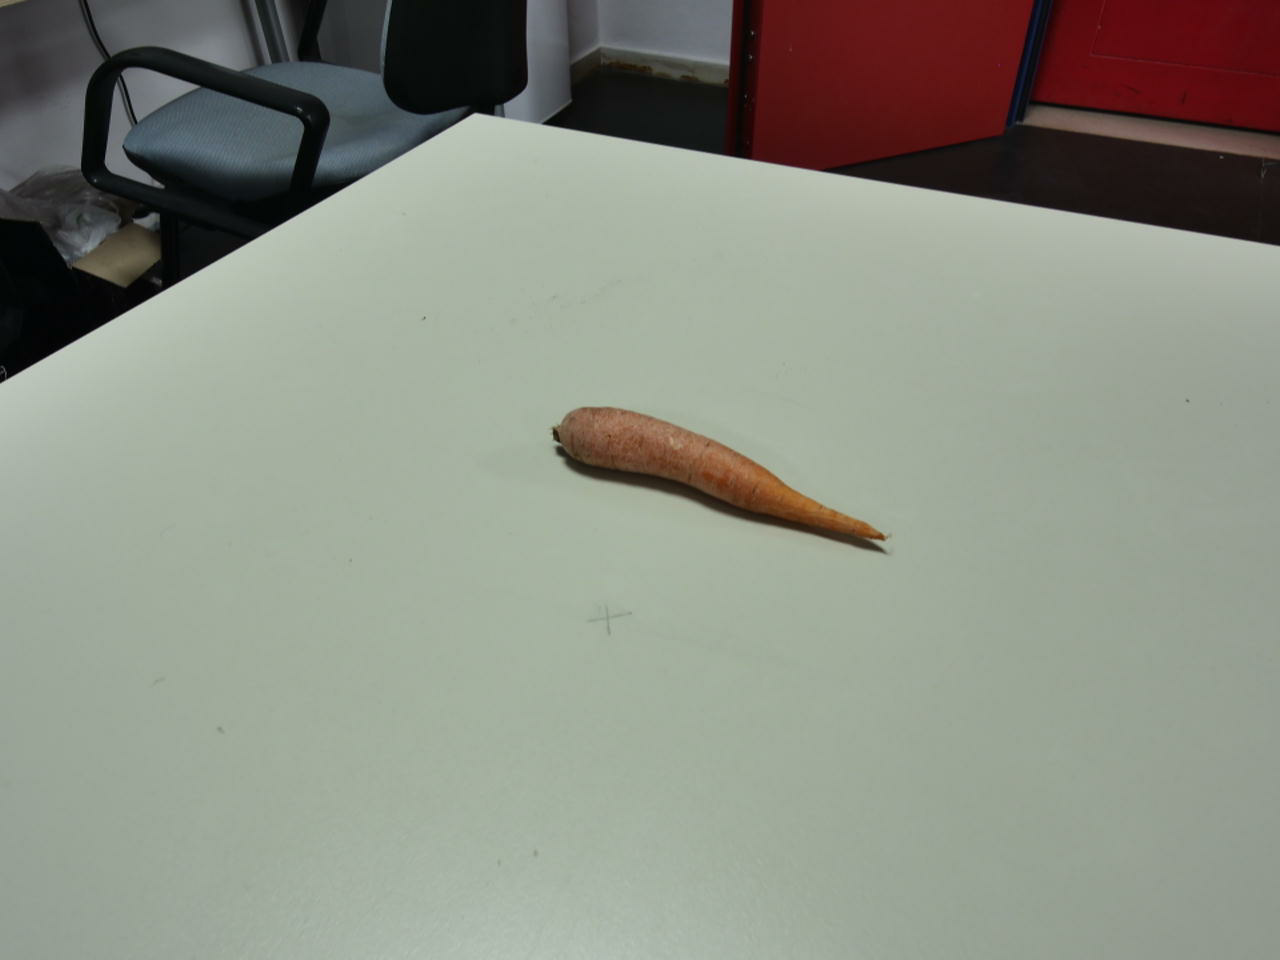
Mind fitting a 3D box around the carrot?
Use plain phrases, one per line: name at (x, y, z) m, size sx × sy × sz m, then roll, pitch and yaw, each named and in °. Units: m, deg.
carrot at (0.033, -0.005, 0.447) m, size 0.163 × 0.029 × 0.031 m, roll 17°, pitch 41°, yaw 21°
